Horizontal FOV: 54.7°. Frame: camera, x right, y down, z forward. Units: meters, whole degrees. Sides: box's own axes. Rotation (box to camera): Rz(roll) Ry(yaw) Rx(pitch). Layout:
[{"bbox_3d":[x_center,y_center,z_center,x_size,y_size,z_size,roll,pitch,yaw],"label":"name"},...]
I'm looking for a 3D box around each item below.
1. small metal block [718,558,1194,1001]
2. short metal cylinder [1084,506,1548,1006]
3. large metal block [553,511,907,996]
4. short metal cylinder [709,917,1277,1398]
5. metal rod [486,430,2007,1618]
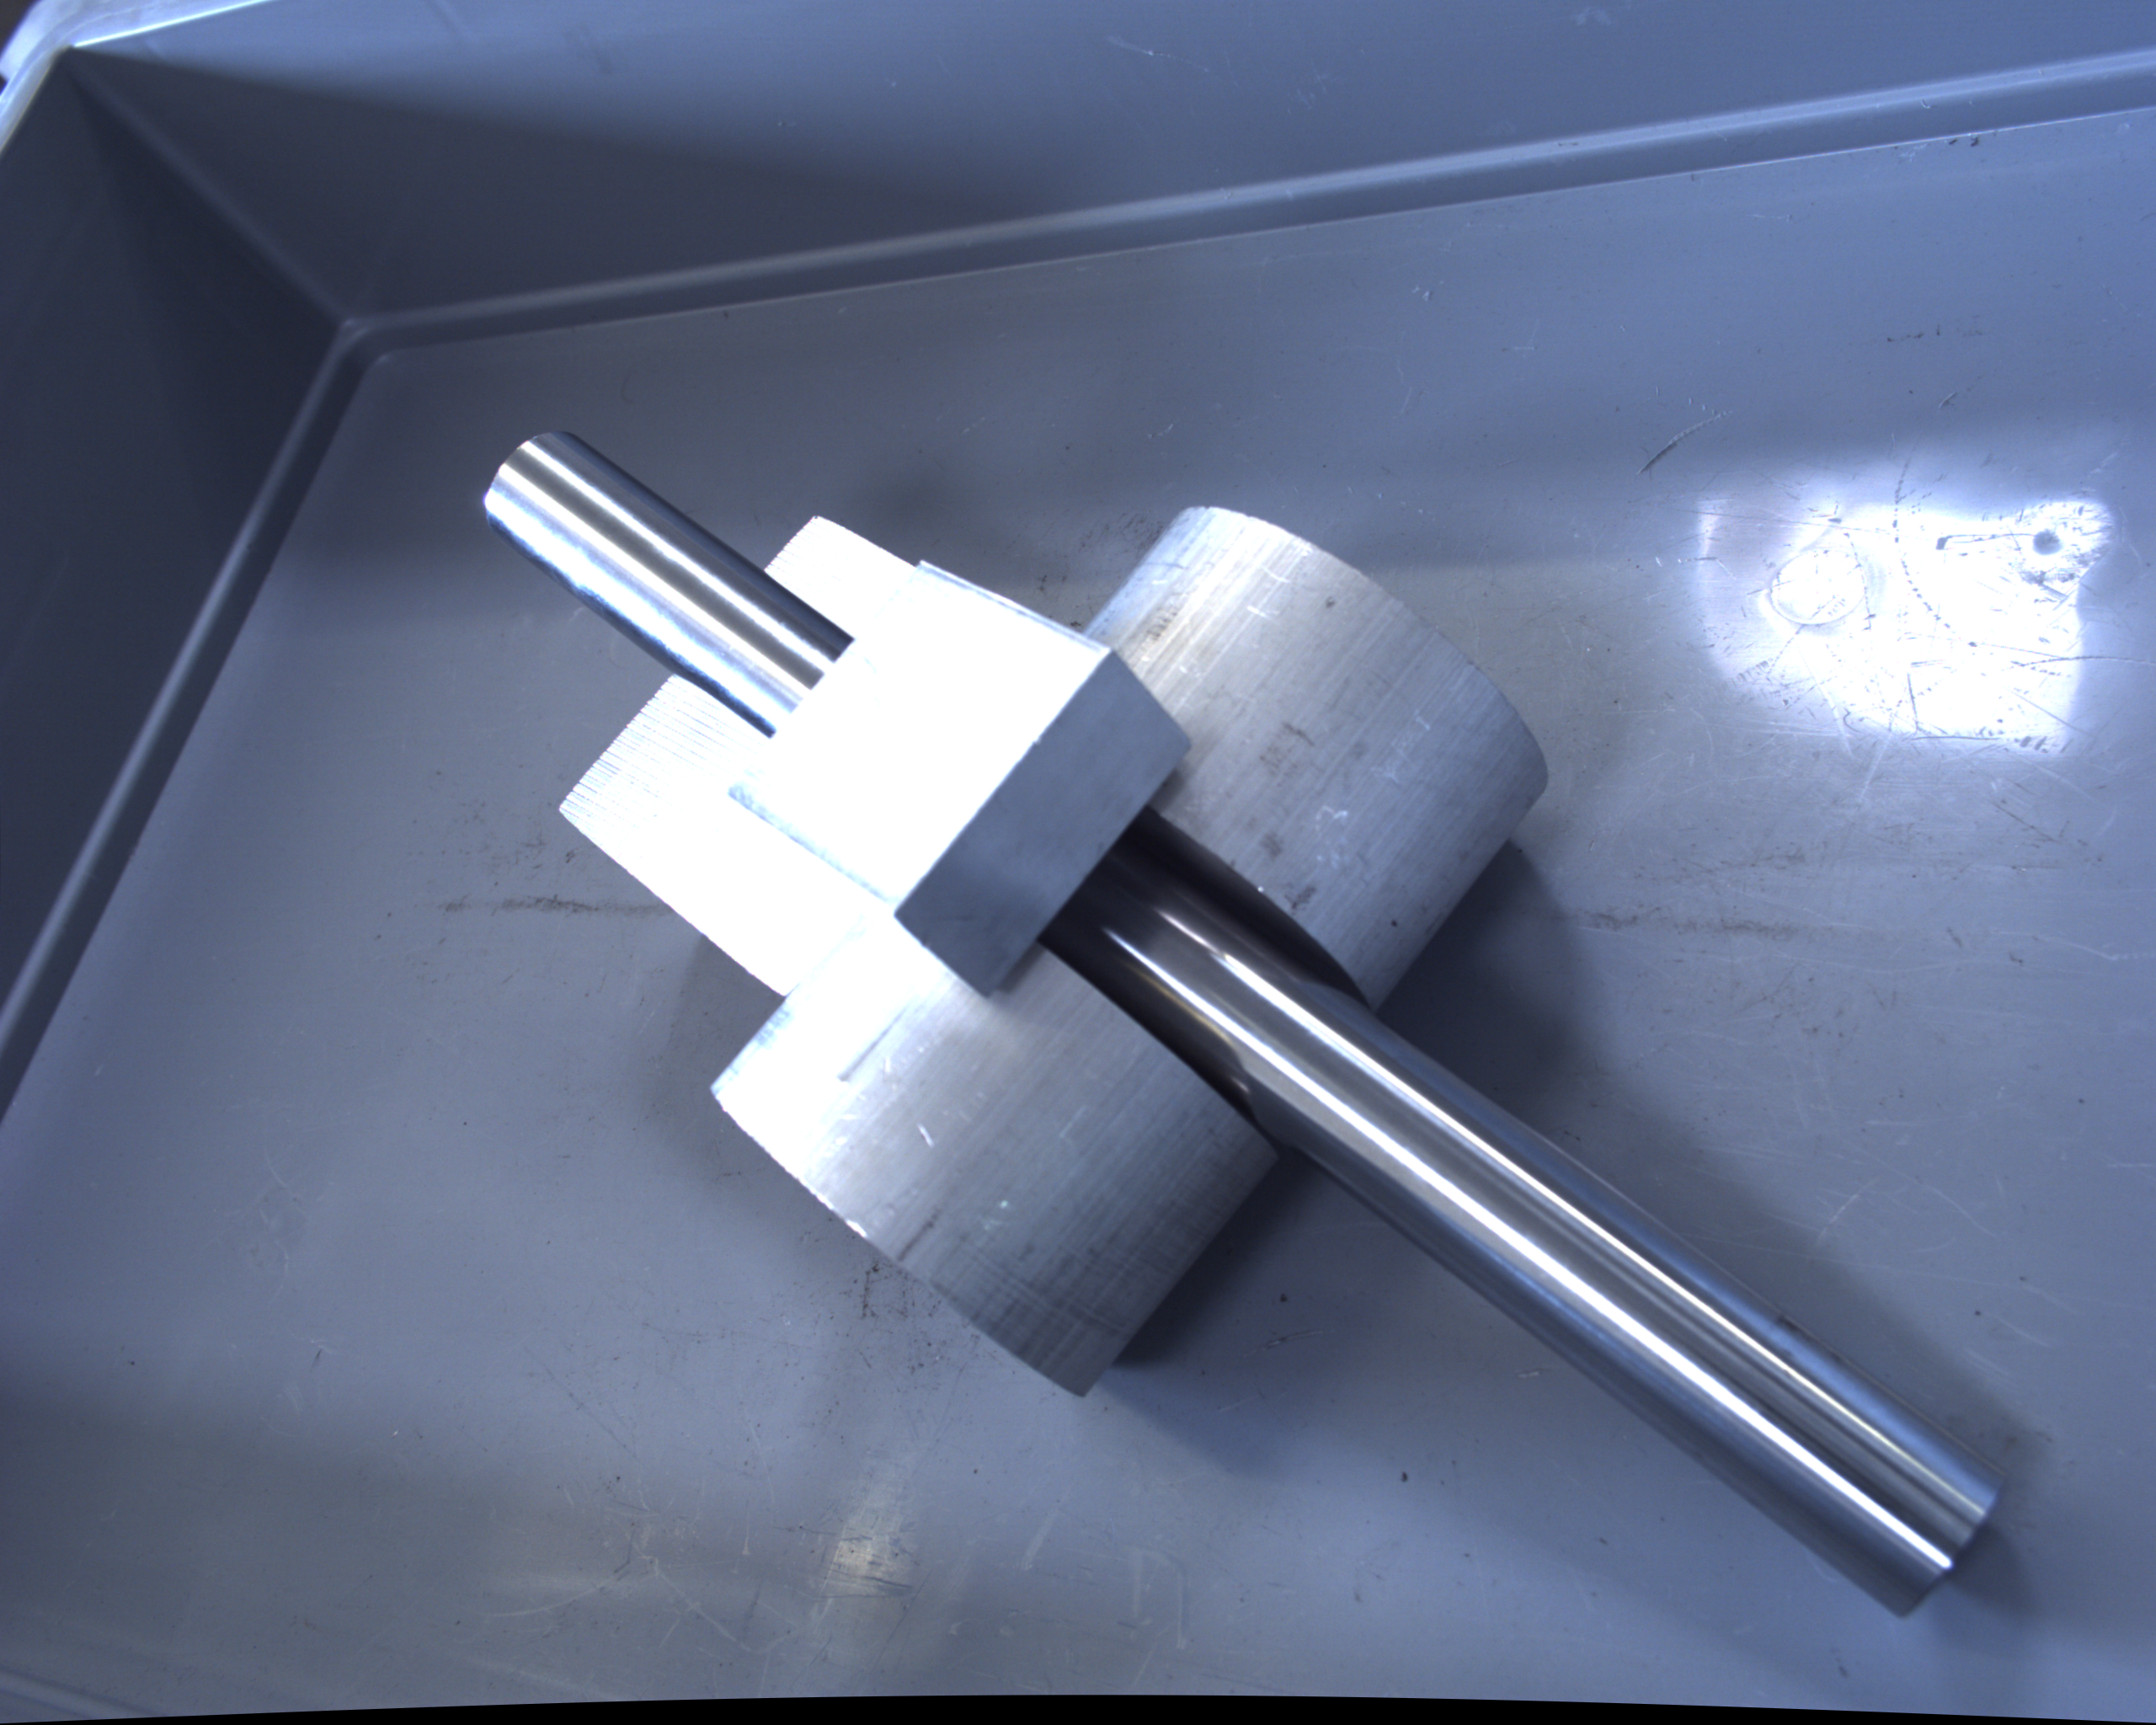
[{"bbox_3d":[-0.020,-0.014,0.321,0.050,0.025,0.050,-51,43,-8],"label":"small metal block"},{"bbox_3d":[0.033,-0.016,0.362,0.080,0.080,0.050,31,79,38],"label":"short metal cylinder"},{"bbox_3d":[-0.042,-0.012,0.414,0.080,0.050,0.080,33,80,38],"label":"large metal block"},{"bbox_3d":[-0.014,0.044,0.349,0.080,0.080,0.050,34,81,38],"label":"short metal cylinder"},{"bbox_3d":[0.008,0.011,0.342,0.300,0.025,0.025,37,82,23],"label":"metal rod"}]
